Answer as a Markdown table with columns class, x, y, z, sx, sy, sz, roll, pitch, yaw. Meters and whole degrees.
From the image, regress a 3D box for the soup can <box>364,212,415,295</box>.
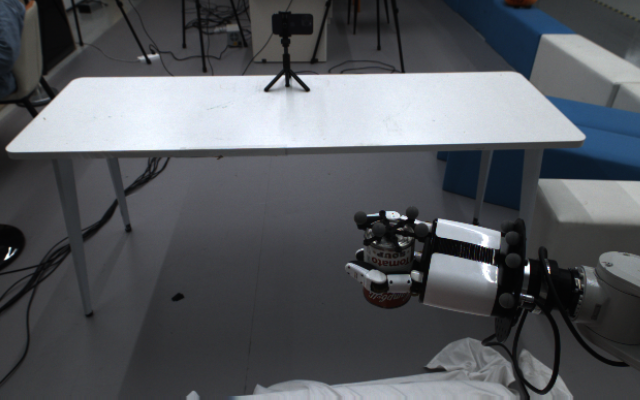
| class | x | y | z | sx | sy | sz | roll | pitch | yaw |
| --- | --- | --- | --- | --- | --- | --- | --- | --- | --- |
| soup can | 0.094 | 0.085 | 0.650 | 0.067 | 0.101 | 0.067 | -2 | 32 | 1 |
